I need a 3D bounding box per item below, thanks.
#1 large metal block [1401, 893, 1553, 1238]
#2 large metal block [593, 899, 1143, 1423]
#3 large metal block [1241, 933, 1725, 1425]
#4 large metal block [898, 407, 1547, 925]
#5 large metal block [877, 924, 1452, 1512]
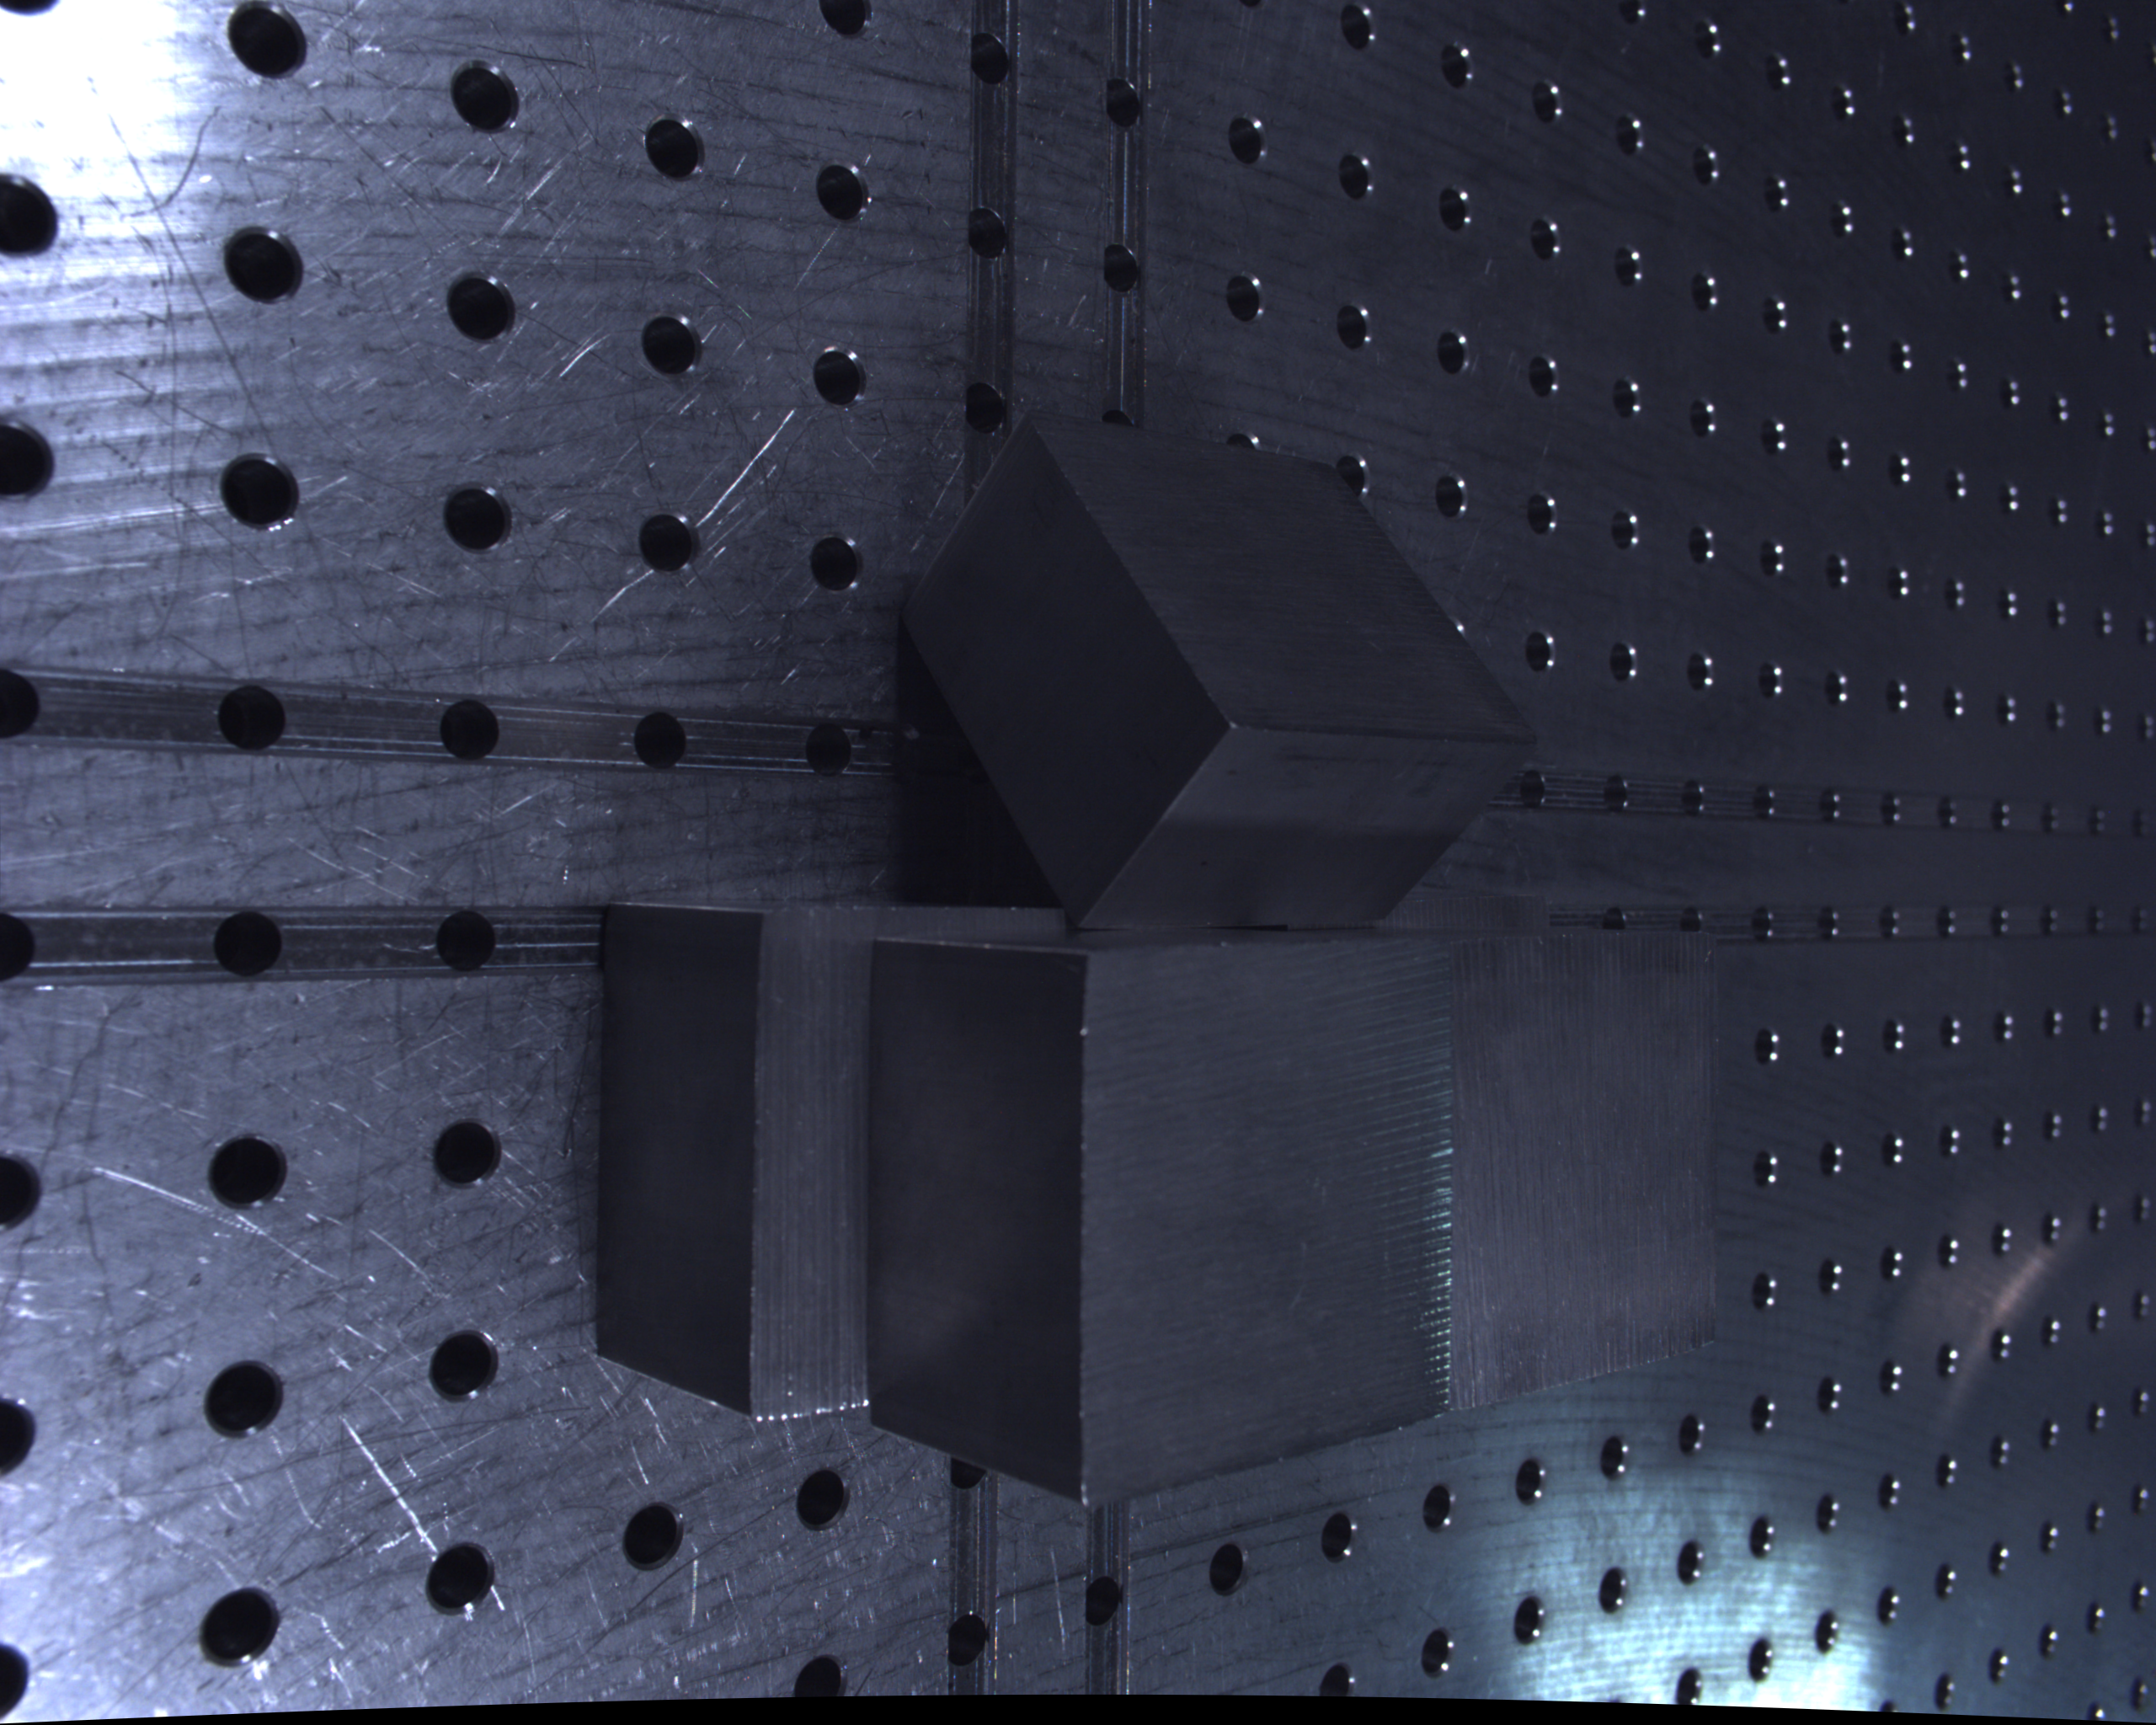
[{"bbox_3d":[0.055,0.047,0.441,0.081,0.050,0.079,-1,91,-40],"label":"large metal block"},{"bbox_3d":[-0.035,0.047,0.366,0.081,0.050,0.079,2,89,-40],"label":"large metal block"},{"bbox_3d":[0.077,0.053,0.392,0.081,0.050,0.079,0,90,-40],"label":"large metal block"},{"bbox_3d":[0.026,-0.034,0.390,0.081,0.050,0.080,0,48,-40],"label":"large metal block"},{"bbox_3d":[0.015,0.051,0.339,0.081,0.050,0.079,0,90,-40],"label":"large metal block"}]
